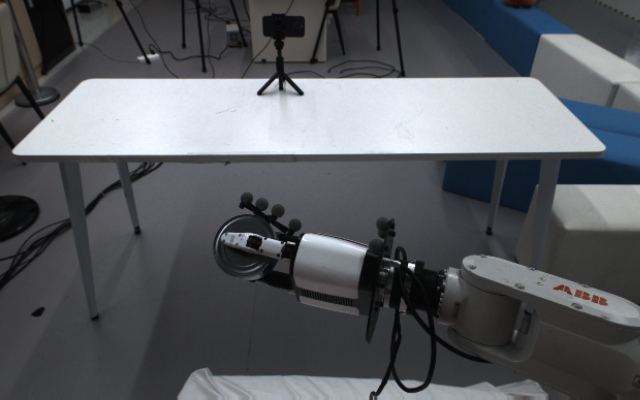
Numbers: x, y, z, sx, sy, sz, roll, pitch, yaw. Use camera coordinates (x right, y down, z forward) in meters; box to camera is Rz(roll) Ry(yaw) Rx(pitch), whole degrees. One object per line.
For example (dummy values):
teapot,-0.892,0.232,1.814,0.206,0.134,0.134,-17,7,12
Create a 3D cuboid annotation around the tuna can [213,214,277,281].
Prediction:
tuna can,-0.096,0.065,0.649,0.085,0.034,0.085,-2,71,6
